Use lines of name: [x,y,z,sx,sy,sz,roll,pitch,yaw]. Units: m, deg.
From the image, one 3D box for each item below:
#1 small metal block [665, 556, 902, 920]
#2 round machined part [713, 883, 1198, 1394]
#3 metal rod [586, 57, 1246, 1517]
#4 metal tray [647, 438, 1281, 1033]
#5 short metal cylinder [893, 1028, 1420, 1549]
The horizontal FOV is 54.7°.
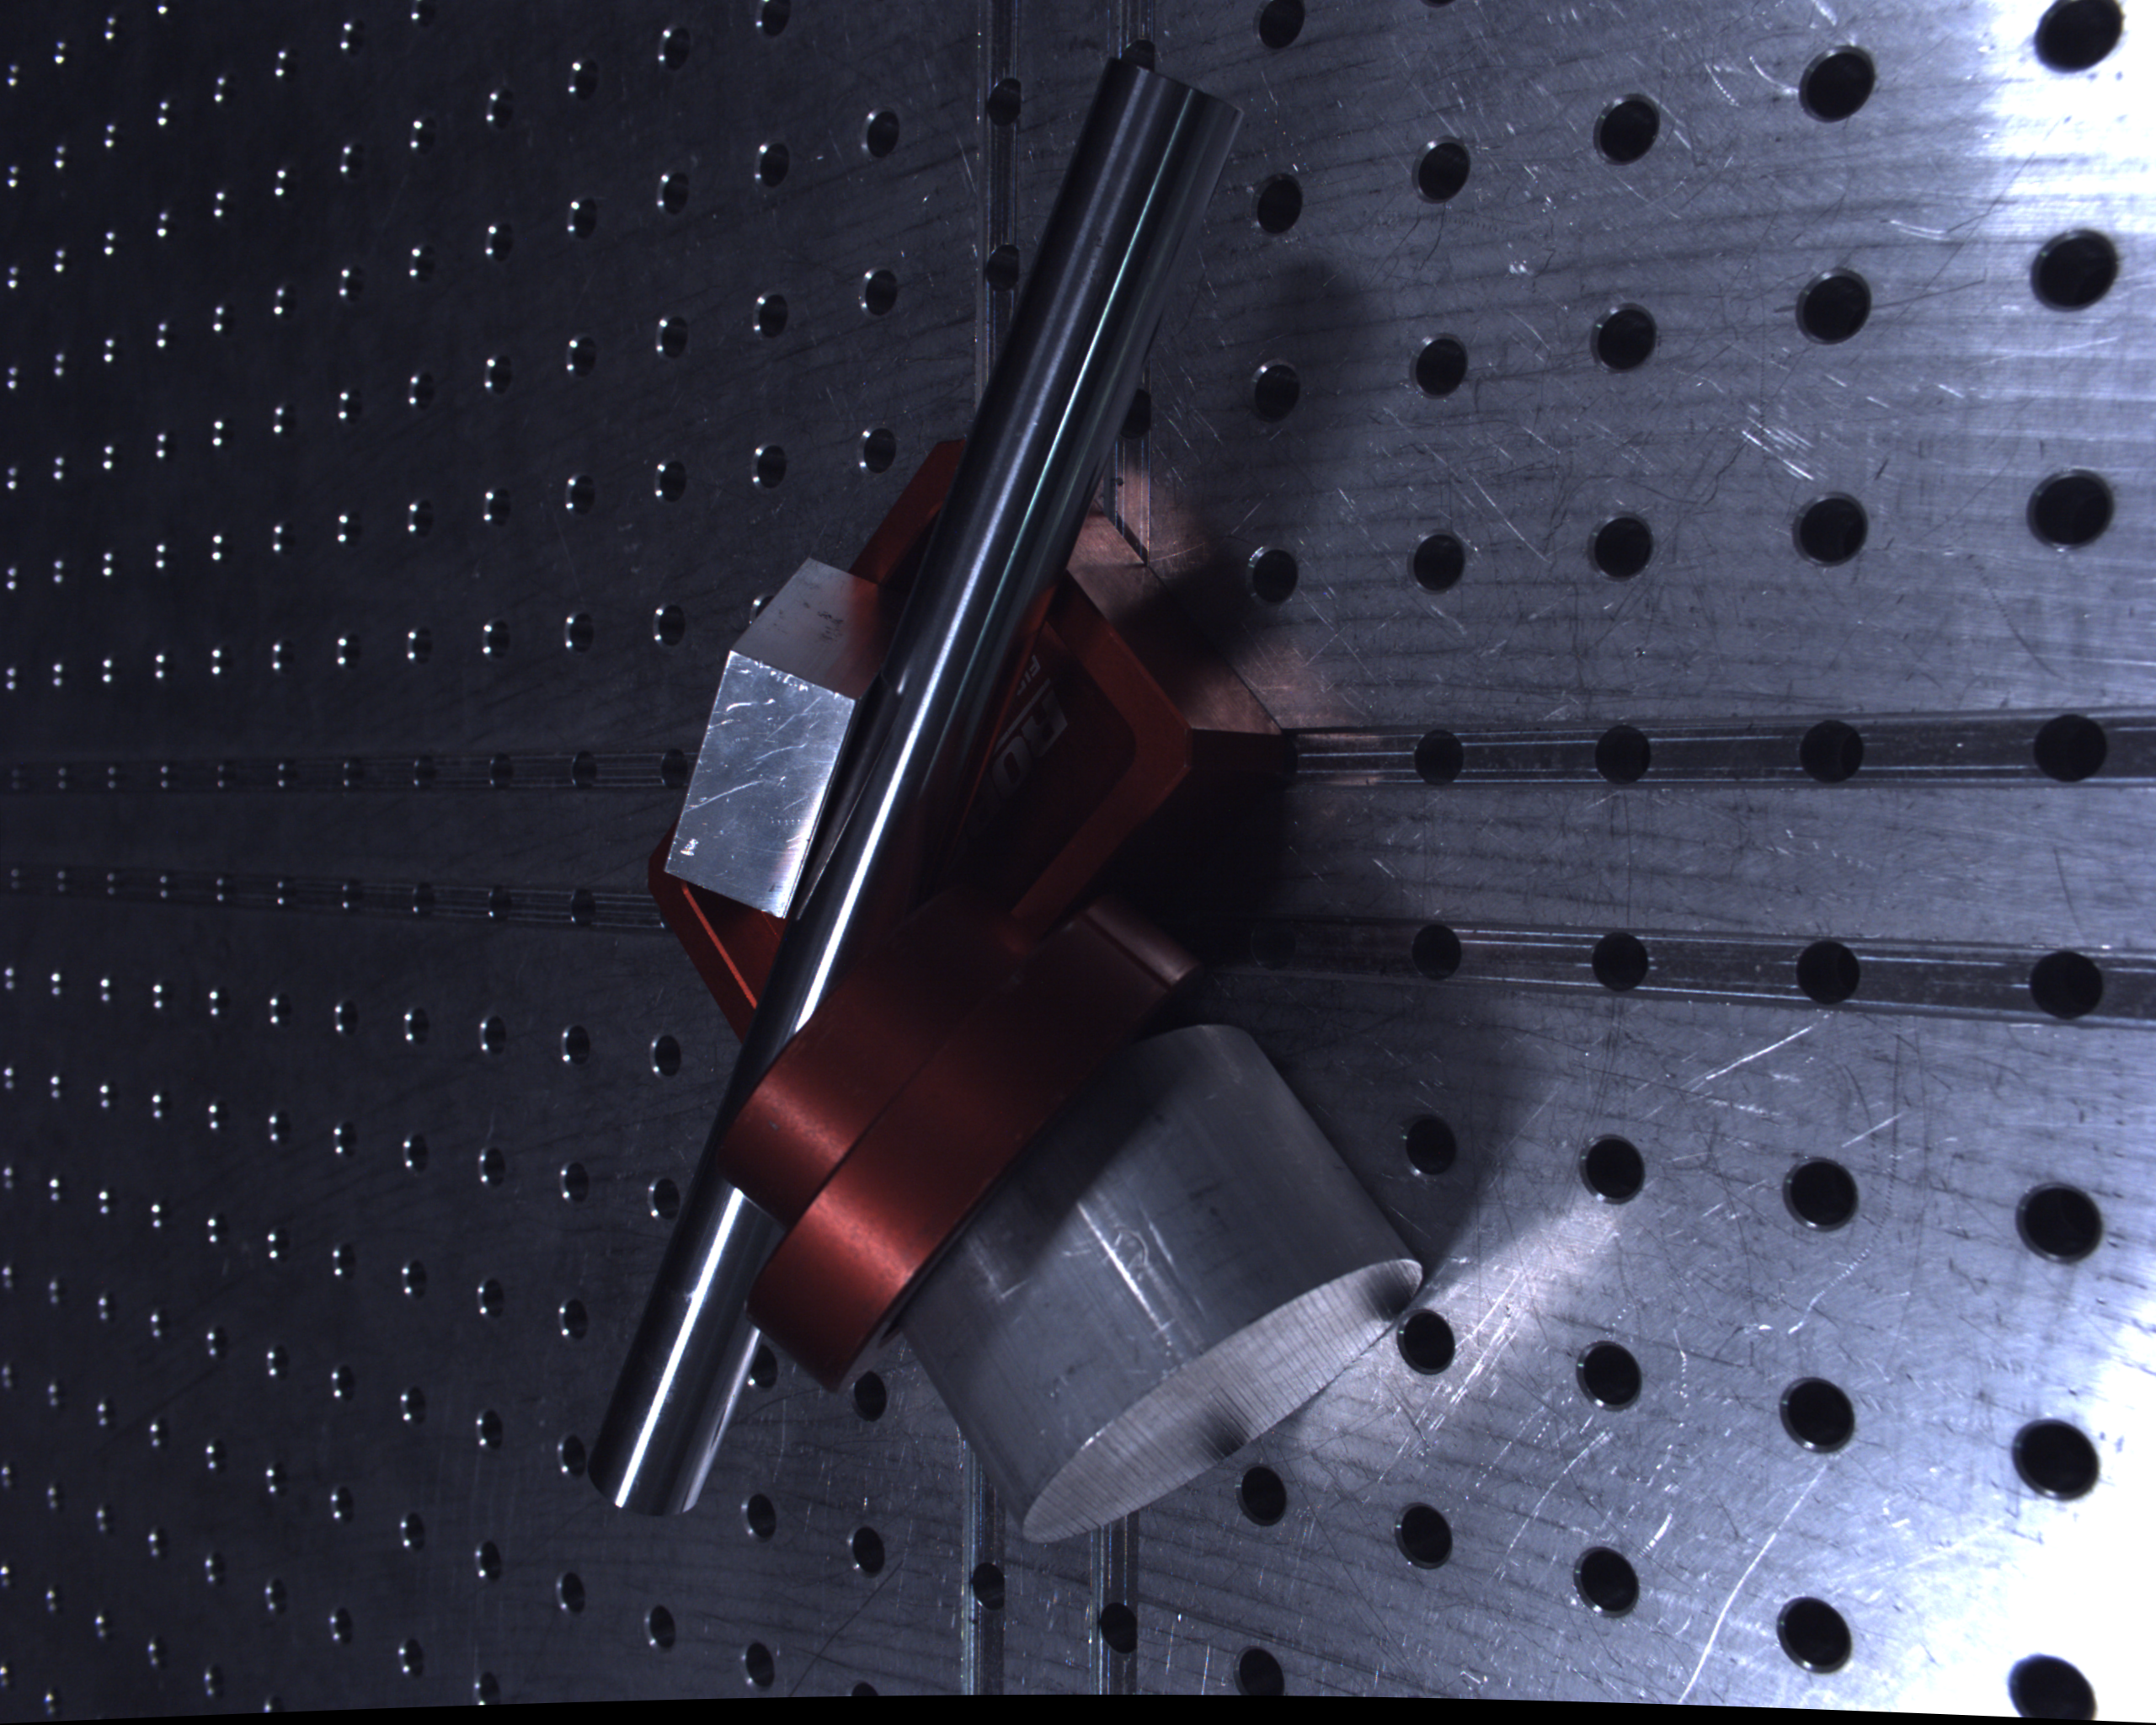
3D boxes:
small metal block: [-0.054,-0.025,0.407,0.025,0.050,0.050,22,119,-1]
round machined part: [-0.025,0.042,0.367,0.042,0.098,0.097,41,116,8]
metal rod: [-0.038,-0.001,0.399,0.025,0.025,0.298,35,111,34]
metal tray: [-0.029,-0.009,0.427,0.129,0.030,0.090,-50,61,28]
short metal cylinder: [0.011,0.074,0.361,0.080,0.081,0.050,-51,61,28]
